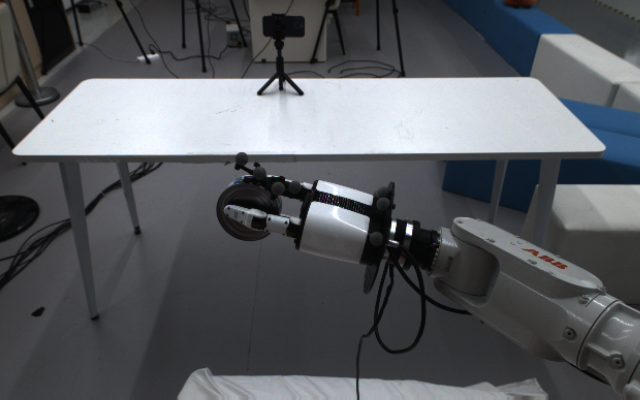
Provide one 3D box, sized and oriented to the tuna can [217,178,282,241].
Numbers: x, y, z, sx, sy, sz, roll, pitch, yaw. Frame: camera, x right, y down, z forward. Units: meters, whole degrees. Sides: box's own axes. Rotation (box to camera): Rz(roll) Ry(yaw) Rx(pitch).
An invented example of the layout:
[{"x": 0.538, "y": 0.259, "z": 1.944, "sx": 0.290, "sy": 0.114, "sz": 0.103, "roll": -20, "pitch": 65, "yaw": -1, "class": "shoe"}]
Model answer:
[{"x": -0.095, "y": 0.012, "z": 0.666, "sx": 0.085, "sy": 0.085, "sz": 0.034, "roll": 4, "pitch": 20, "yaw": 3, "class": "tuna can"}]
